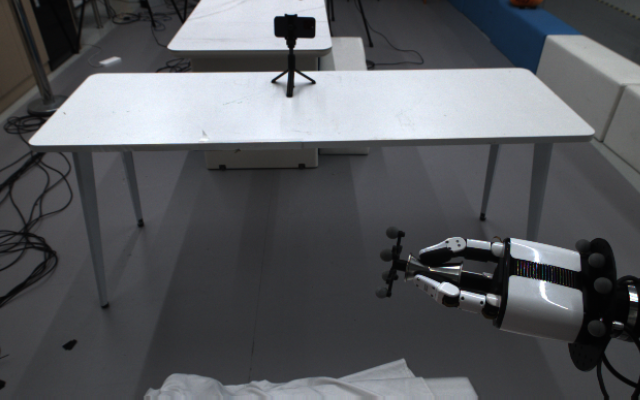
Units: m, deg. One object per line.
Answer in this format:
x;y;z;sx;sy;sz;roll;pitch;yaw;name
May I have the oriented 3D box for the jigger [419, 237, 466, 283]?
0.153;0.091;0.628;0.071;0.043;0.043;11;36;16;jigger
